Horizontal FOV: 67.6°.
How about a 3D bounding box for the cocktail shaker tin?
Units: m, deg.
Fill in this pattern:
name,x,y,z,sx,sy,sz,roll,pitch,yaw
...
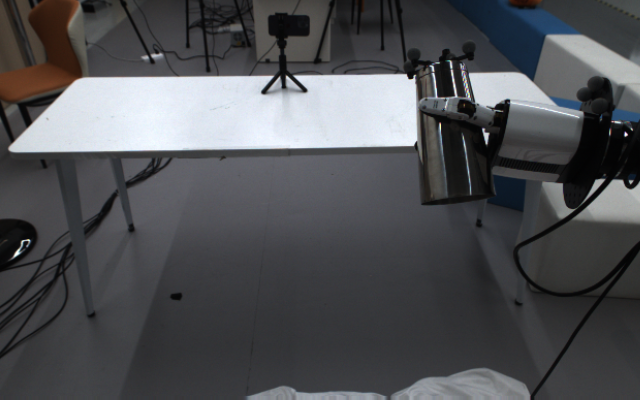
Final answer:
name,x,y,z,sx,sy,sz,roll,pitch,yaw
cocktail shaker tin,0.166,-0.084,0.617,0.093,0.170,0.093,-6,-7,-1
